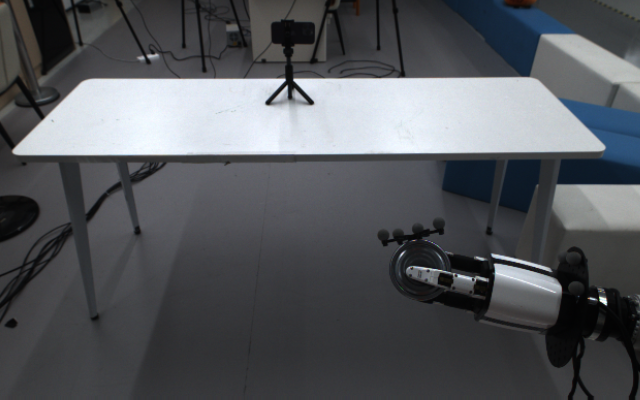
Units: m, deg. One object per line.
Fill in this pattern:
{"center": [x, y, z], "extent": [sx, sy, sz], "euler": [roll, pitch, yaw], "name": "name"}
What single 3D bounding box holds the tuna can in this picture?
{"center": [0.143, 0.095, 0.678], "extent": [0.085, 0.085, 0.034], "euler": [12, -6, 14], "name": "tuna can"}
